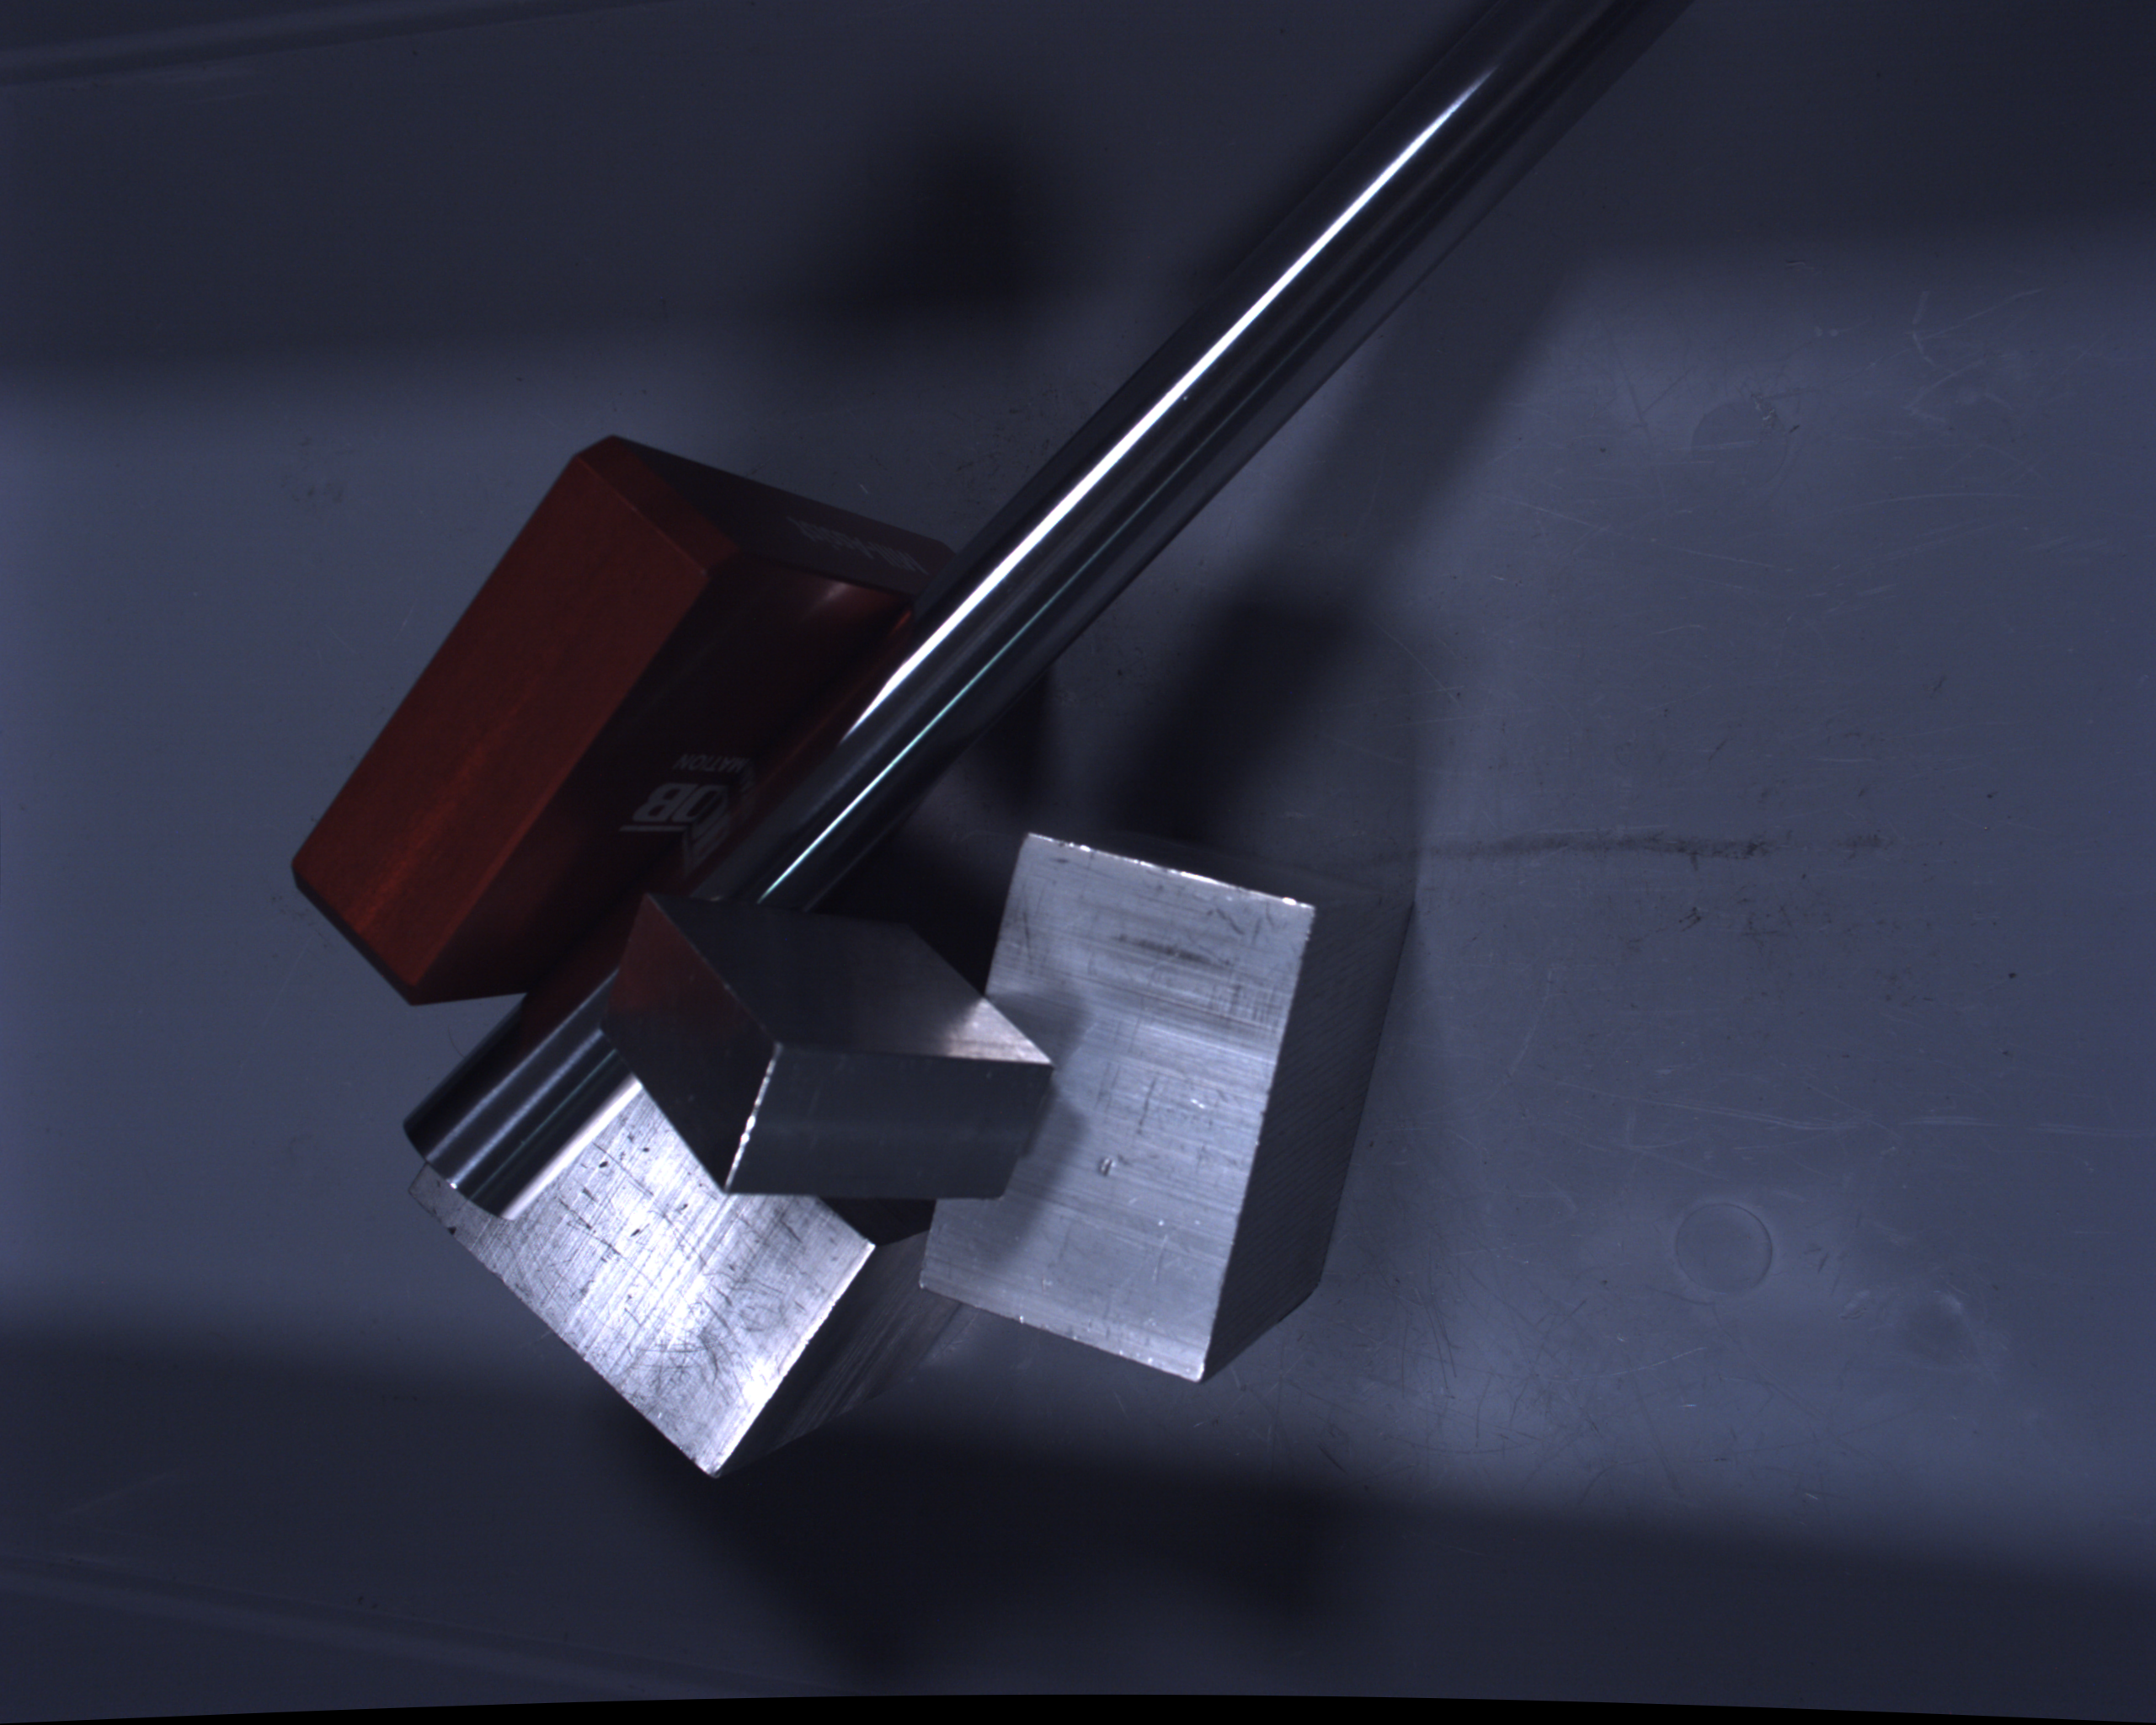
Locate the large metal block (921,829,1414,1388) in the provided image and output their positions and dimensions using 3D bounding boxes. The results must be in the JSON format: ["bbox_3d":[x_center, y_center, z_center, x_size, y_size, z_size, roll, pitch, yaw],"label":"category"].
[{"bbox_3d":[0.019,0.039,0.373,0.050,0.080,0.079,14,95,19],"label":"large metal block"}]

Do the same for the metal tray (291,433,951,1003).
[{"bbox_3d":[-0.066,-0.022,0.375,0.030,0.130,0.090,42,104,16],"label":"metal tray"}]

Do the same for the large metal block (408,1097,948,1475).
[{"bbox_3d":[-0.064,0.062,0.403,0.080,0.080,0.050,38,102,15],"label":"large metal block"}]

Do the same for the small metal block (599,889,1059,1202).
[{"bbox_3d":[-0.040,0.029,0.330,0.050,0.050,0.025,40,114,47],"label":"small metal block"}]

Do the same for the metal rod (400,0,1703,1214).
[{"bbox_3d":[0.000,-0.057,0.360,0.025,0.025,0.300,43,86,14],"label":"metal rod"}]
